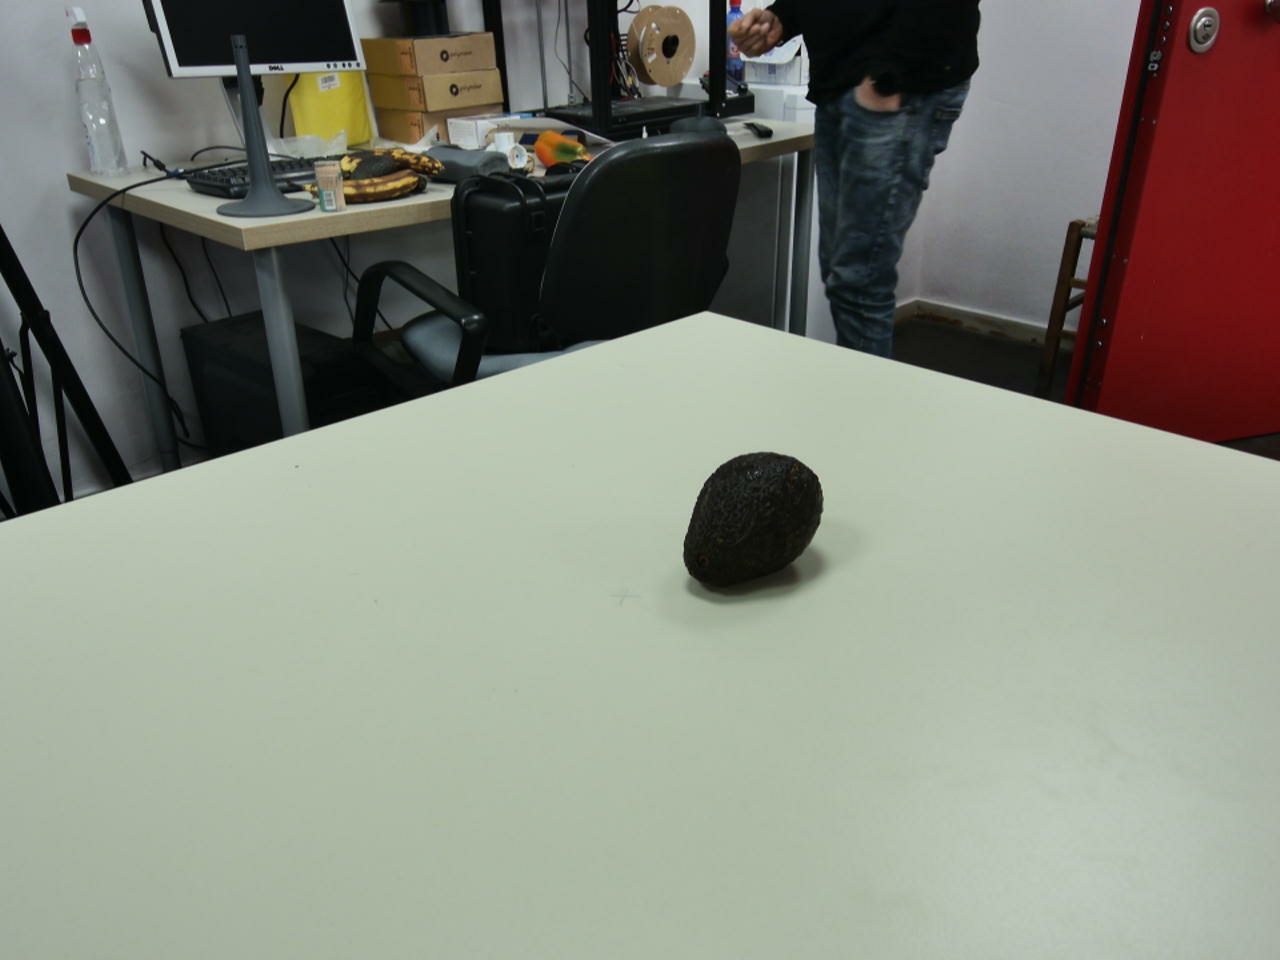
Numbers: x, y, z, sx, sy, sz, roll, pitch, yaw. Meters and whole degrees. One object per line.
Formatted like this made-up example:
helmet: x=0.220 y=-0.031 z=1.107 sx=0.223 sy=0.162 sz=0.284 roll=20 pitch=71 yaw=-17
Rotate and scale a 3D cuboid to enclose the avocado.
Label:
avocado: x=0.065 y=0.019 z=0.587 sx=0.090 sy=0.069 sz=0.070 roll=-7 pitch=25 yaw=-16
